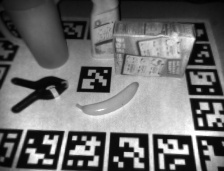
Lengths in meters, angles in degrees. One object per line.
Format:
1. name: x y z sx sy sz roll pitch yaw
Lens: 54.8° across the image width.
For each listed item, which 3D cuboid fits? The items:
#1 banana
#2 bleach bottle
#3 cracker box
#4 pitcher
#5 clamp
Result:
1. banana: -0.005 0.024 0.649 0.198 0.039 0.073 -26 58 -15
2. bleach bottle: -0.038 -0.203 0.670 0.102 0.252 0.067 1 54 5
3. cracker box: 0.111 -0.120 0.640 0.213 0.165 0.072 2 53 7
4. pitcher: -0.229 -0.188 0.644 0.189 0.244 0.132 -12 55 -8
5. clamp: -0.222 -0.008 0.671 0.165 0.037 0.121 -10 54 -7
